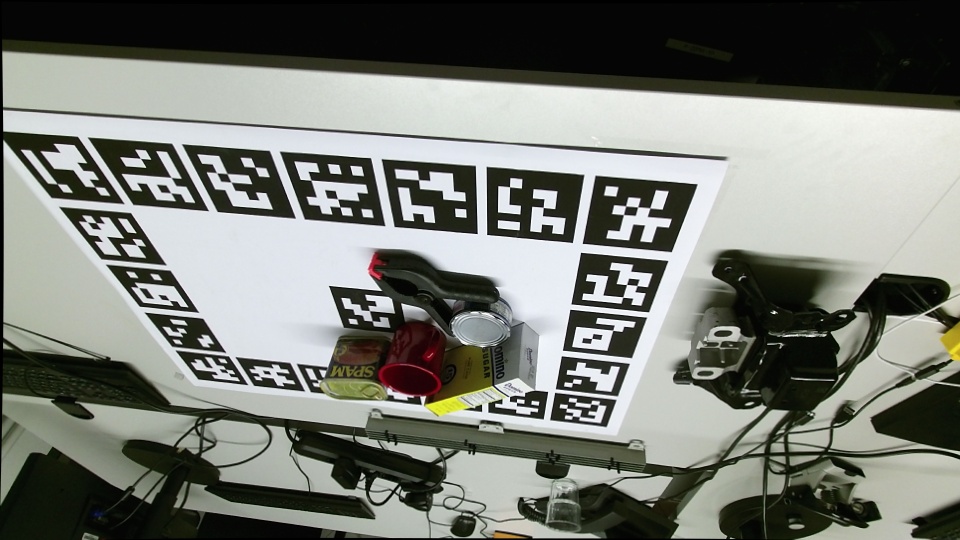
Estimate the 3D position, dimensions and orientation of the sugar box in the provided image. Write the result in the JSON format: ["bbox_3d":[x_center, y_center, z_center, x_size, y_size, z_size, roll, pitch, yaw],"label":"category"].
[{"bbox_3d":[0.003,0.140,0.771,0.177,0.092,0.045,-24,128,33],"label":"sugar box"}]

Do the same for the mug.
[{"bbox_3d":[-0.090,0.124,0.768,0.093,0.081,0.117,23,133,-11],"label":"mug"}]

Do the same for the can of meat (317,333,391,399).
[{"bbox_3d":[-0.187,0.145,0.821,0.102,0.083,0.058,0,137,13],"label":"can of meat"}]

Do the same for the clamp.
[{"bbox_3d":[-0.070,0.015,0.696,0.165,0.036,0.122,33,137,-16],"label":"clamp"}]

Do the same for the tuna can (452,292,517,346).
[{"bbox_3d":[0.007,0.063,0.724,0.086,0.033,0.086,5,134,6],"label":"tuna can"}]
